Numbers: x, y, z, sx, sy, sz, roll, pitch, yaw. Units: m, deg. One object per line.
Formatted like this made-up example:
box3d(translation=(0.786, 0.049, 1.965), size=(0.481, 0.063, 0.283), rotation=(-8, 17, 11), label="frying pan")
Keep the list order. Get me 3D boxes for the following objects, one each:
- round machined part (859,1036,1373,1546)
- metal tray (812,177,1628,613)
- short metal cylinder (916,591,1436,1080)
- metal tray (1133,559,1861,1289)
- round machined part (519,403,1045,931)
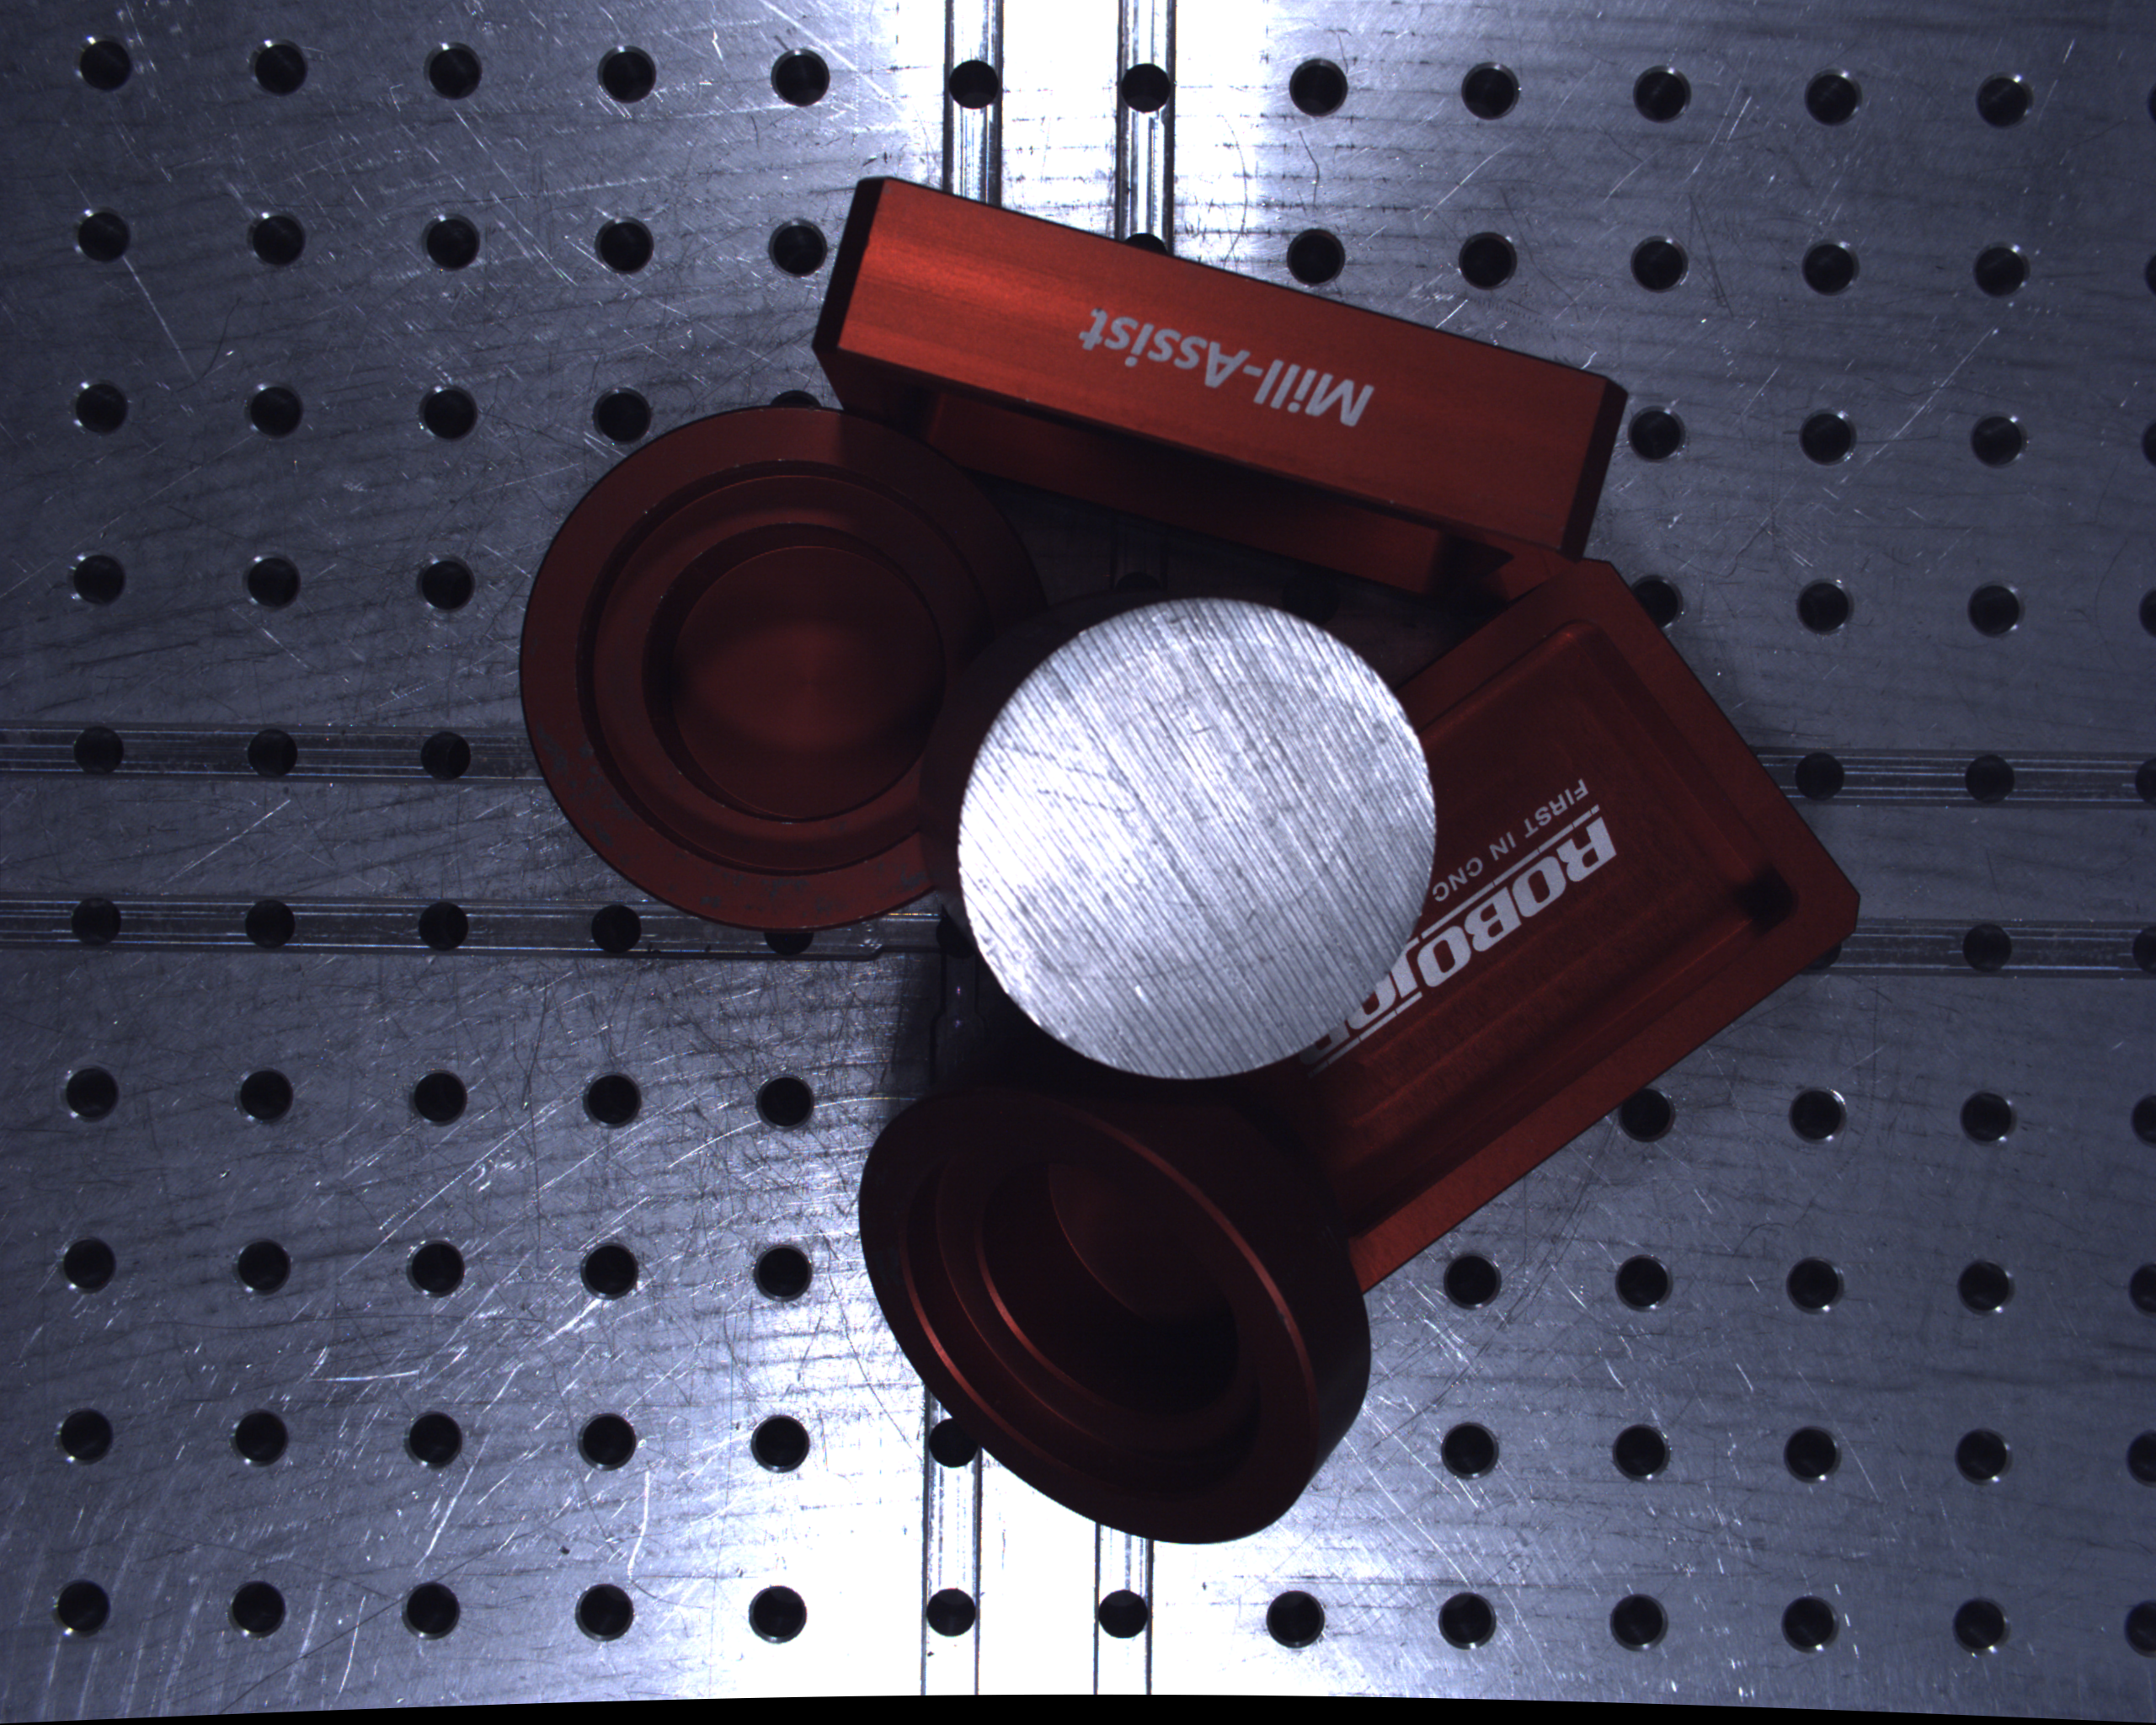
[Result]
box3d(translation=(0.011, 0.074, 0.388), size=(0.098, 0.042, 0.097), rotation=(18, 125, 28), label="round machined part")
box3d(translation=(0.023, -0.081, 0.381), size=(0.131, 0.090, 0.030), rotation=(15, 90, -1), label="metal tray")
box3d(translation=(0.015, -0.007, 0.364), size=(0.081, 0.050, 0.079), rotation=(-2, 99, -12), label="short metal cylinder")
box3d(translation=(0.073, 0.013, 0.411), size=(0.130, 0.030, 0.090), rotation=(-36, 90, -1), label="metal tray")
box3d(translation=(-0.054, -0.036, 0.404), size=(0.099, 0.042, 0.097), rotation=(0, 90, -1), label="round machined part")
